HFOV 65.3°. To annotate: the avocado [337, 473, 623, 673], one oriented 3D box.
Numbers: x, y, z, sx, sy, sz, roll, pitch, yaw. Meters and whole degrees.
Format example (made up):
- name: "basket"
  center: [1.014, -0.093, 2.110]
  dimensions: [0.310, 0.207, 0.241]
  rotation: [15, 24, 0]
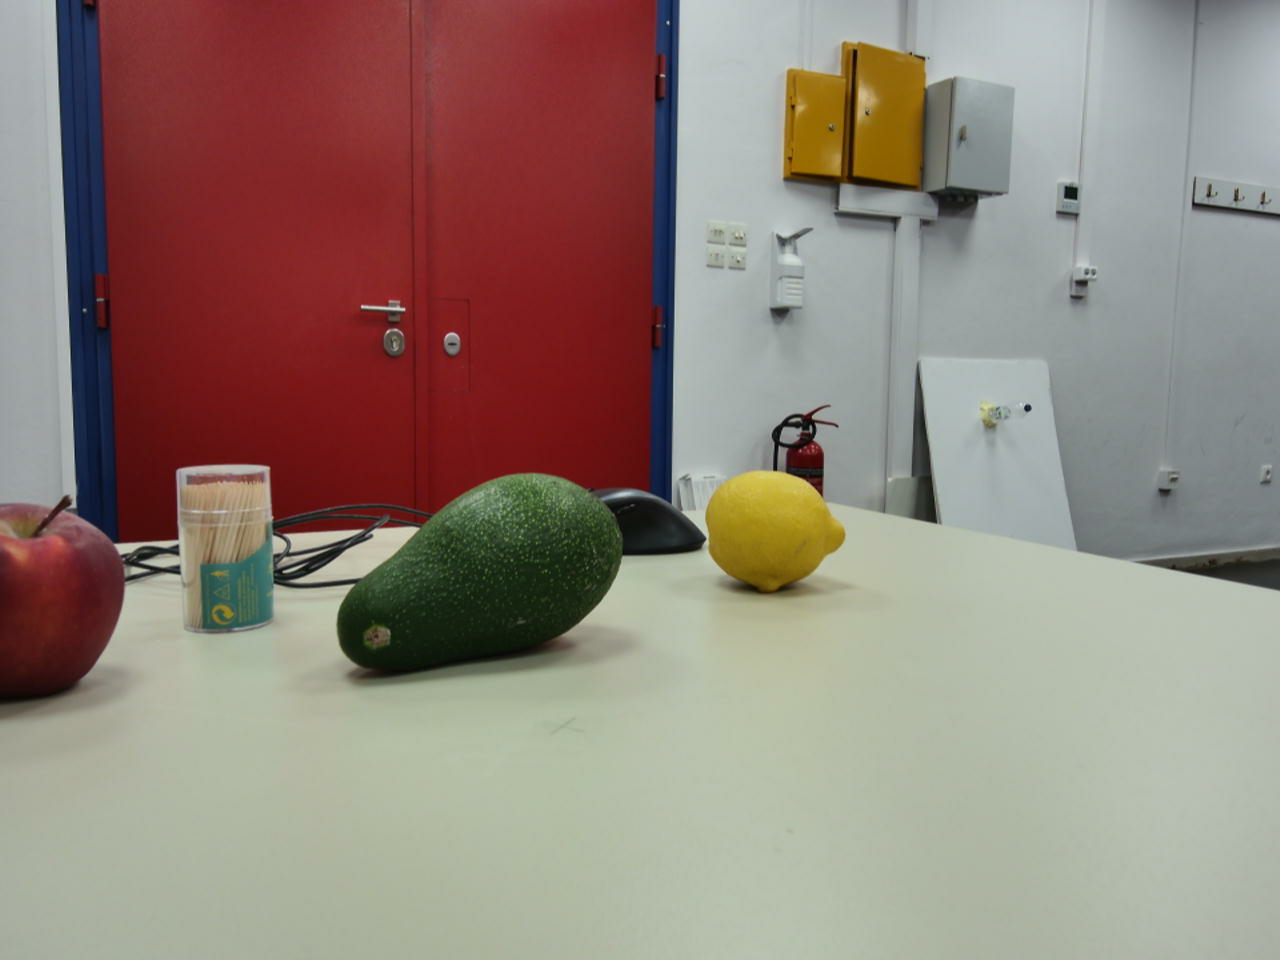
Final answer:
- name: "avocado"
  center: [-0.066, 0.035, 0.424]
  dimensions: [0.123, 0.076, 0.074]
  rotation: [-2, 4, -20]
